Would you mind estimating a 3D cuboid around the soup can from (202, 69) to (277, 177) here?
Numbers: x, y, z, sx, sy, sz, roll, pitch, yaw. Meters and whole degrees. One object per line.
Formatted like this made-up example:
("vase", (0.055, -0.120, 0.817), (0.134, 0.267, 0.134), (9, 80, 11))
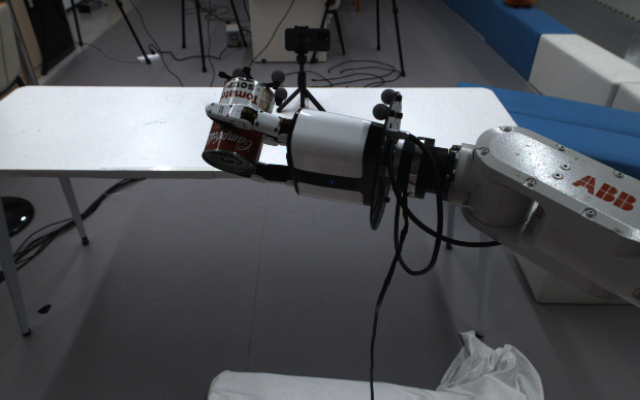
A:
("soup can", (-0.098, -0.090, 0.600), (0.067, 0.067, 0.101), (9, 72, 10))
